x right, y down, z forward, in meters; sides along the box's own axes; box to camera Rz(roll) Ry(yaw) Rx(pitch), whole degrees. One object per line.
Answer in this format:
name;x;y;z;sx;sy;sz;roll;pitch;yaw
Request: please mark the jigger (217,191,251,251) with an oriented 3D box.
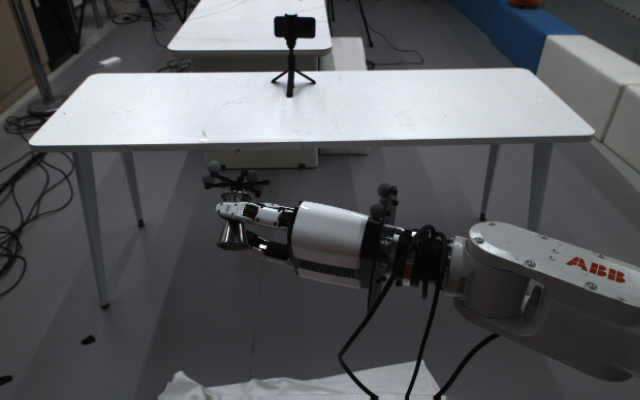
jigger;-0.109;0.026;0.621;0.043;0.043;0.071;1;70;-2
